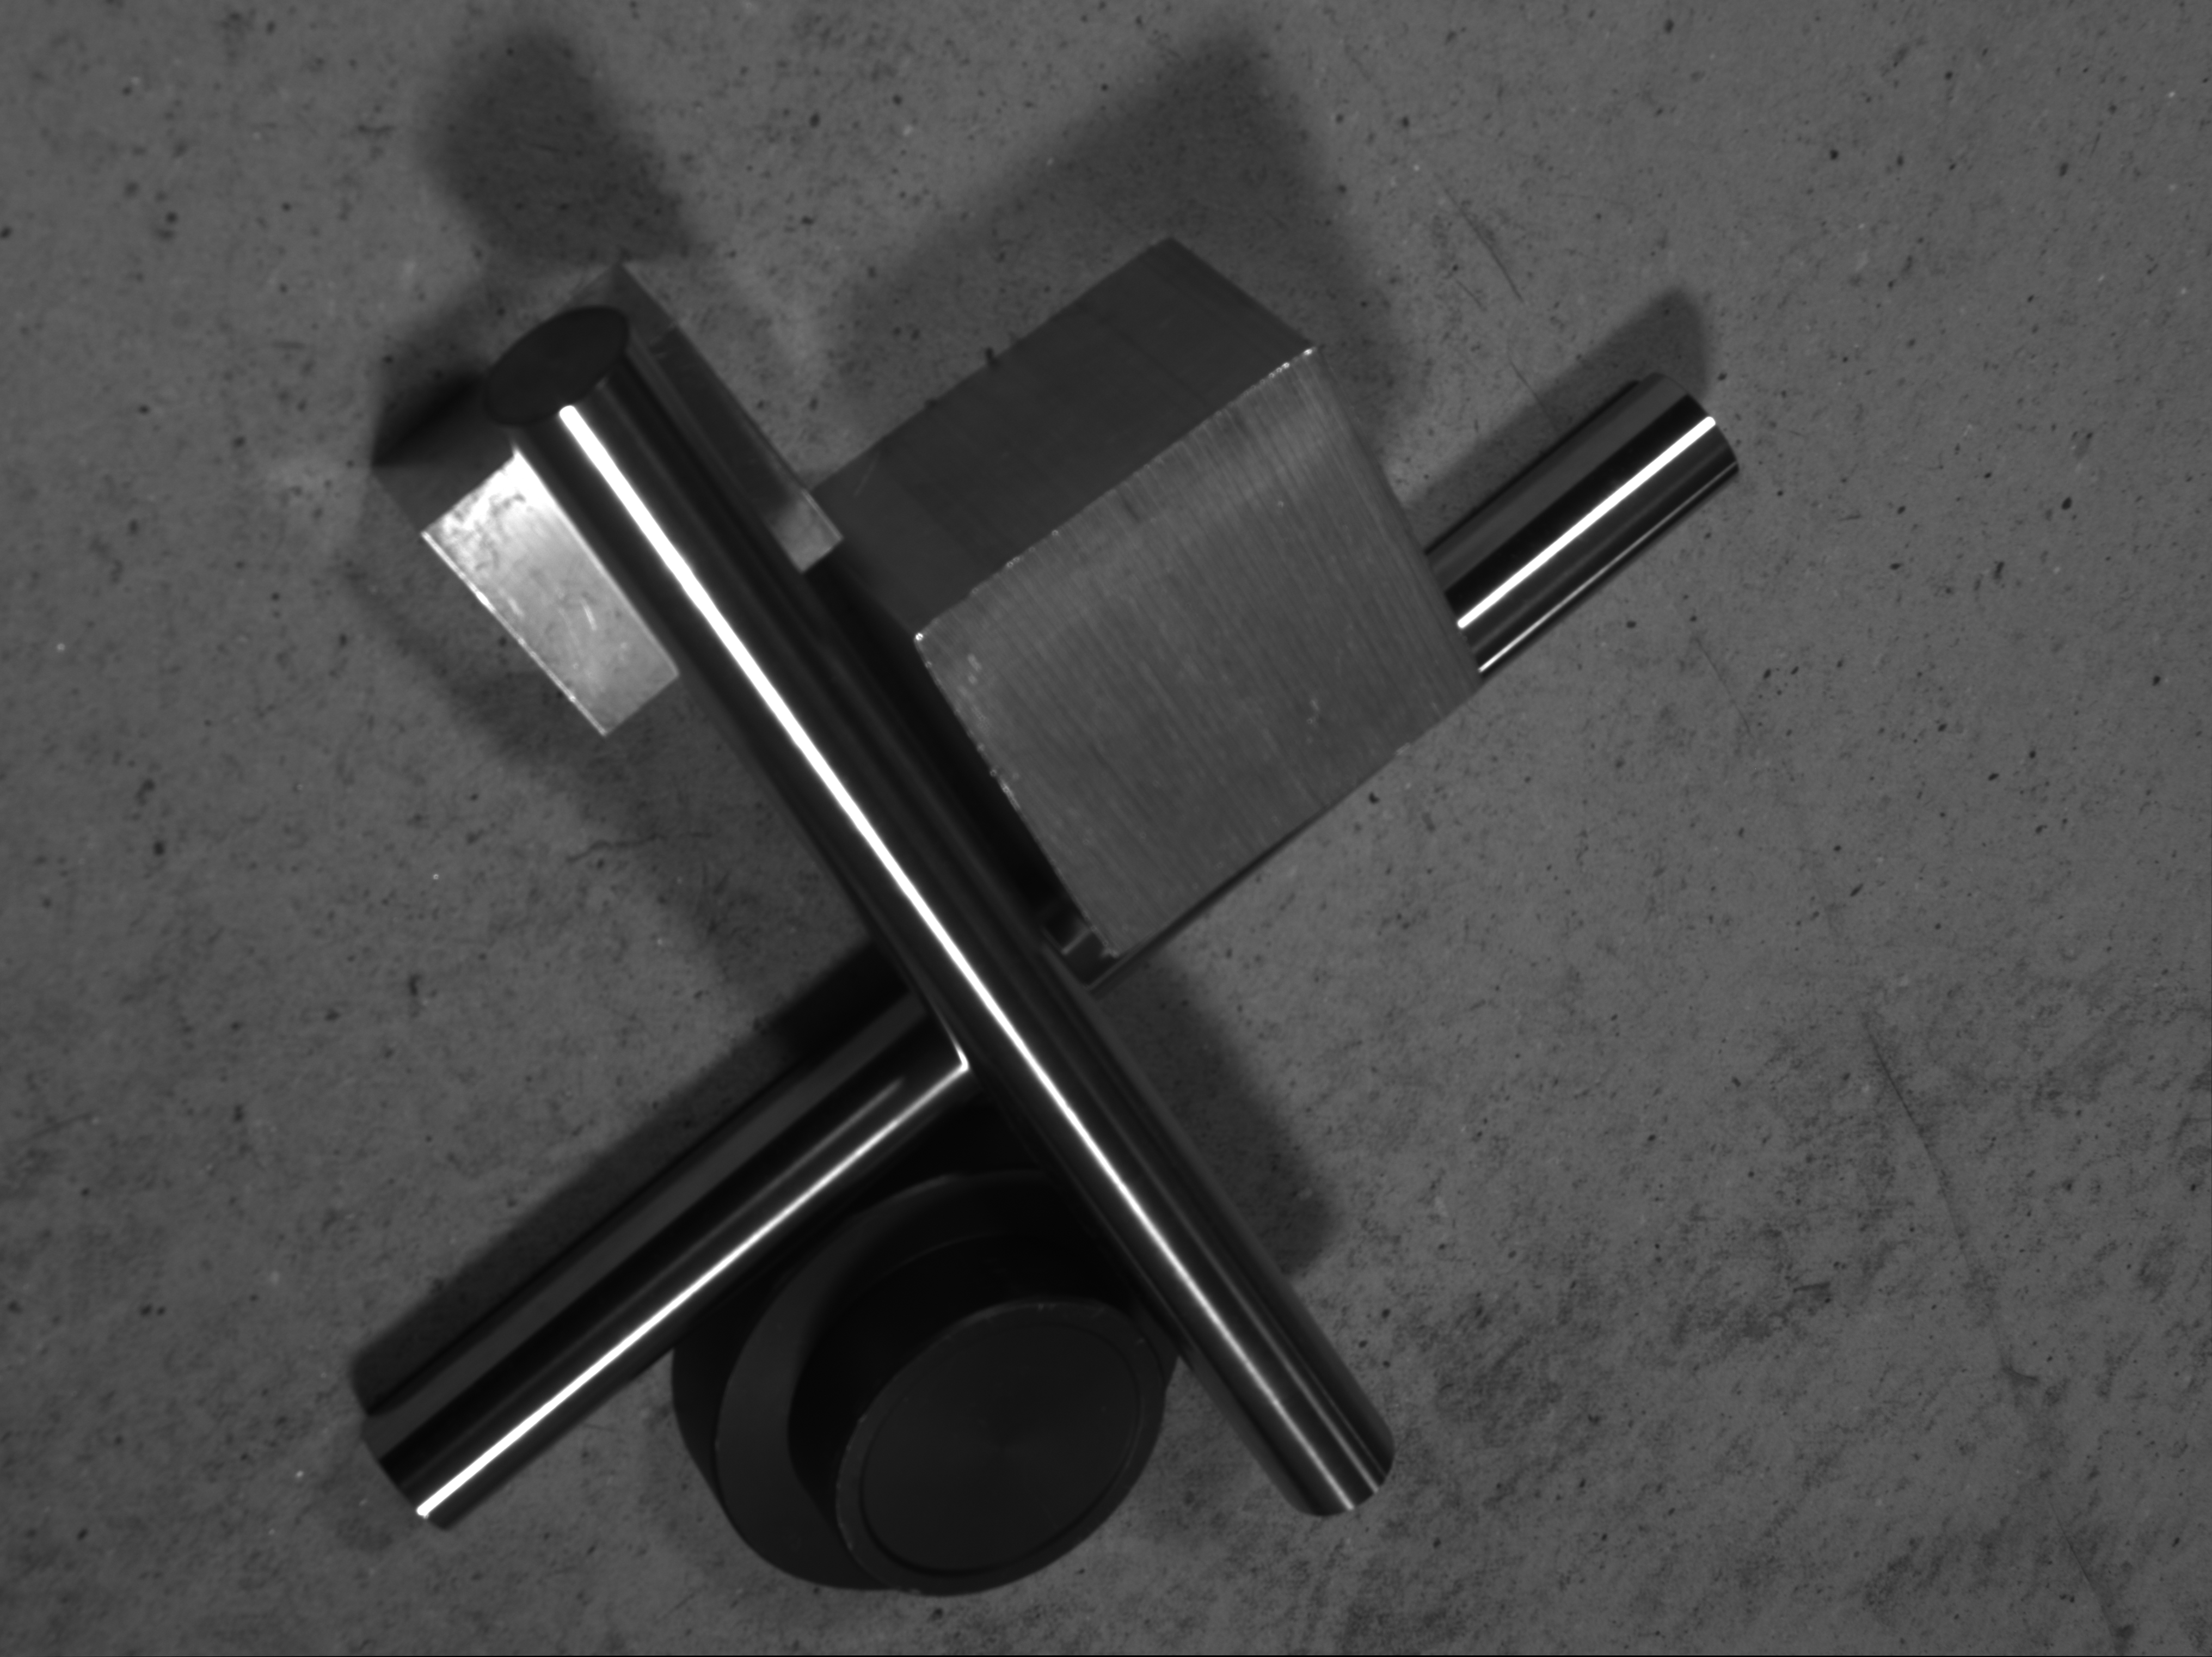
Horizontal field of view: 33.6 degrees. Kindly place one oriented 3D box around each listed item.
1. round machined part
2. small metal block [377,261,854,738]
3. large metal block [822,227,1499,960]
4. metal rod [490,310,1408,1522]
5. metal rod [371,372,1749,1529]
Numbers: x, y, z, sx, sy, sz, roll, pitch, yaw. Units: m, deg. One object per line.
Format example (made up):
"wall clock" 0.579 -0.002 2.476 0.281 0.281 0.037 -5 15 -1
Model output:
"round machined part" -0.026 0.106 0.689 0.098 0.042 0.098 -15 125 -22
"small metal block" -0.077 -0.051 0.576 0.050 0.025 0.050 -40 130 -3
"large metal block" 0.008 -0.039 0.617 0.080 0.050 0.080 -36 130 -6
"metal rod" -0.015 0.030 0.627 0.025 0.025 0.301 -37 130 -5
"metal rod" -0.007 0.021 0.662 0.300 0.025 0.025 -39 130 -4
